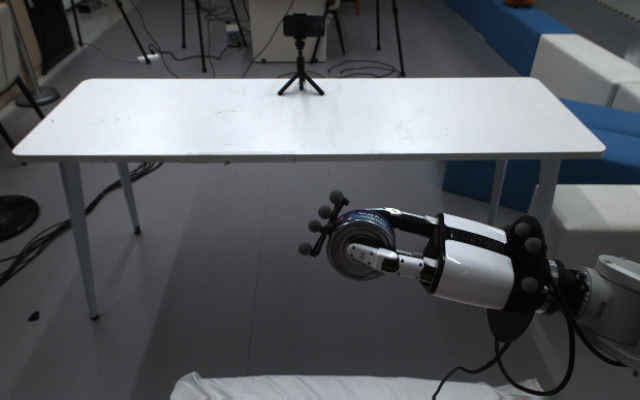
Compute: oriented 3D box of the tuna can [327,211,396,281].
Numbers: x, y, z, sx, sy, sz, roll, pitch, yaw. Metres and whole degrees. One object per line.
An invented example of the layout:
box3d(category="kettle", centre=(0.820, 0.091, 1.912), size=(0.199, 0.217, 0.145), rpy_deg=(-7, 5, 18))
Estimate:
box3d(category="tuna can", centre=(0.055, 0.055, 0.602), size=(0.085, 0.085, 0.034), rpy_deg=(3, 20, 1))
